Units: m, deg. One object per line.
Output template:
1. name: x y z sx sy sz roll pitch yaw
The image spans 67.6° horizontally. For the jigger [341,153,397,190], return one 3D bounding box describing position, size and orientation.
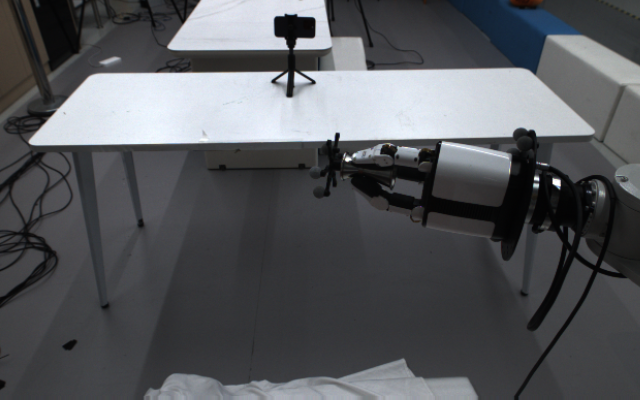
1. jigger: 0.071 -0.044 0.633 0.071 0.043 0.043 9 35 16
